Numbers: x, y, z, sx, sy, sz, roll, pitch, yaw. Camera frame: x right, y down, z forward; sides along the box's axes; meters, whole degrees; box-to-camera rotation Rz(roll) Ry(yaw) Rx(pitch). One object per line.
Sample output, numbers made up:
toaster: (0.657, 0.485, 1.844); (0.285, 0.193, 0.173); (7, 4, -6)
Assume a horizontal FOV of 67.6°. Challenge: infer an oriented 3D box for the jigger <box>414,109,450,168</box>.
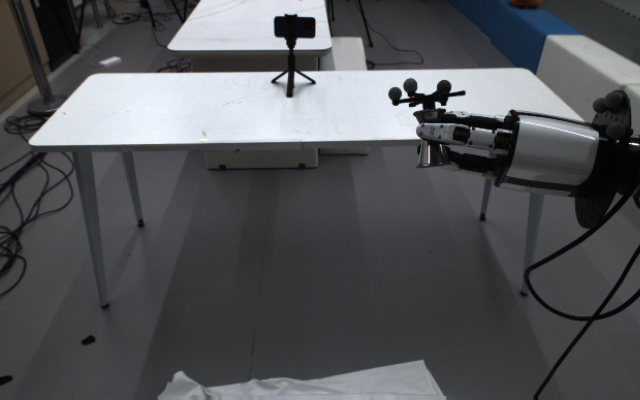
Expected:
jigger: (0.137, -0.077, 0.599); (0.043, 0.071, 0.043); (-4, 1, 0)
